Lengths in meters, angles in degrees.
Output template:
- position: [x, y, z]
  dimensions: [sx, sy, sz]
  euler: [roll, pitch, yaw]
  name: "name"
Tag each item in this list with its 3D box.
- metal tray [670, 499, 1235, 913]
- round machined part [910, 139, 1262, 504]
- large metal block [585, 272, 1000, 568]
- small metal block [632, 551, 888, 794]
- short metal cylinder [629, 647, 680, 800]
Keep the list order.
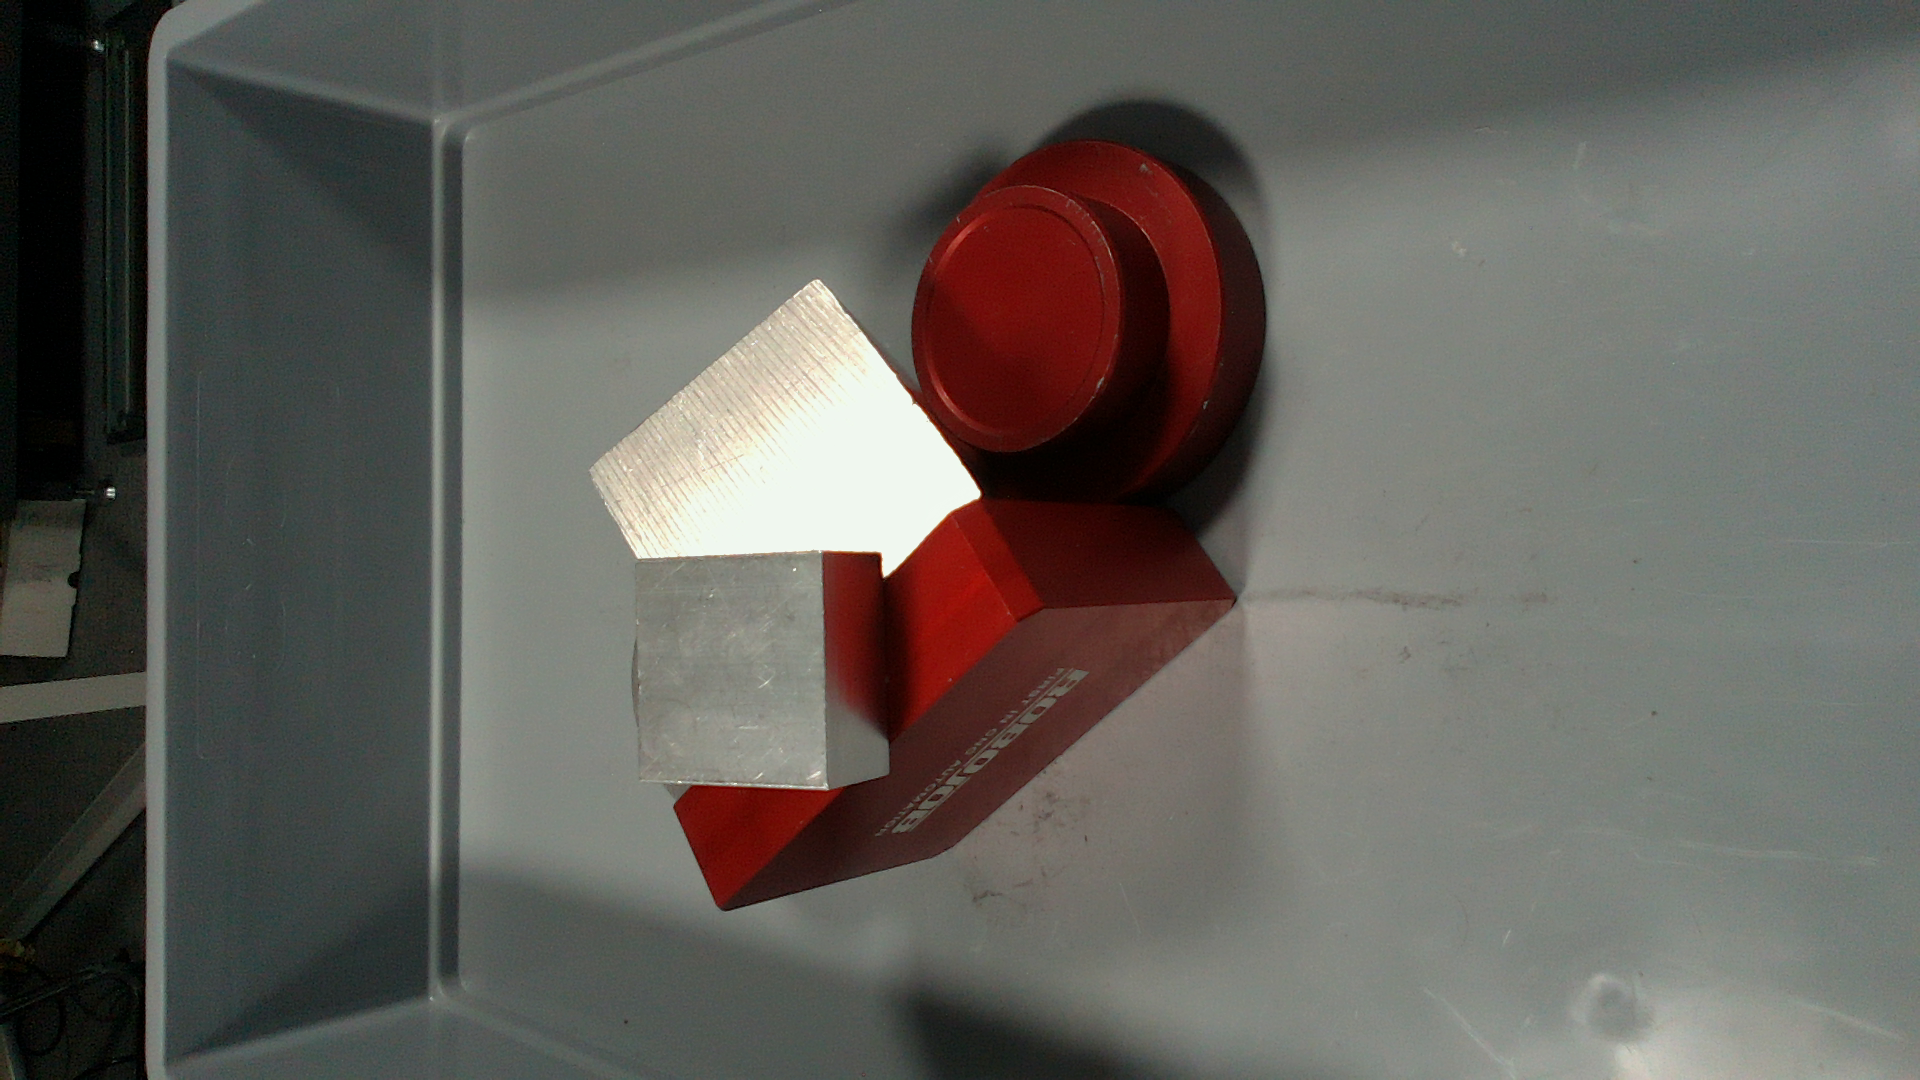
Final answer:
- position: [-0.003, 0.043, 0.352]
  dimensions: [0.130, 0.090, 0.030]
  euler: [-46, 62, 30]
  name: "metal tray"
- position: [0.025, -0.056, 0.360]
  dimensions: [0.098, 0.042, 0.098]
  euler: [0, 90, 40]
  name: "round machined part"
- position: [-0.038, -0.008, 0.362]
  dimensions: [0.080, 0.050, 0.080]
  euler: [-39, 63, 6]
  name: "large metal block"
- position: [-0.045, 0.029, 0.306]
  dimensions: [0.050, 0.025, 0.050]
  euler: [-3, 88, 27]
  name: "small metal block"
- position: [-0.057, 0.043, 0.425]
  dimensions: [0.080, 0.050, 0.080]
  euler: [0, 90, 40]
  name: "short metal cylinder"
